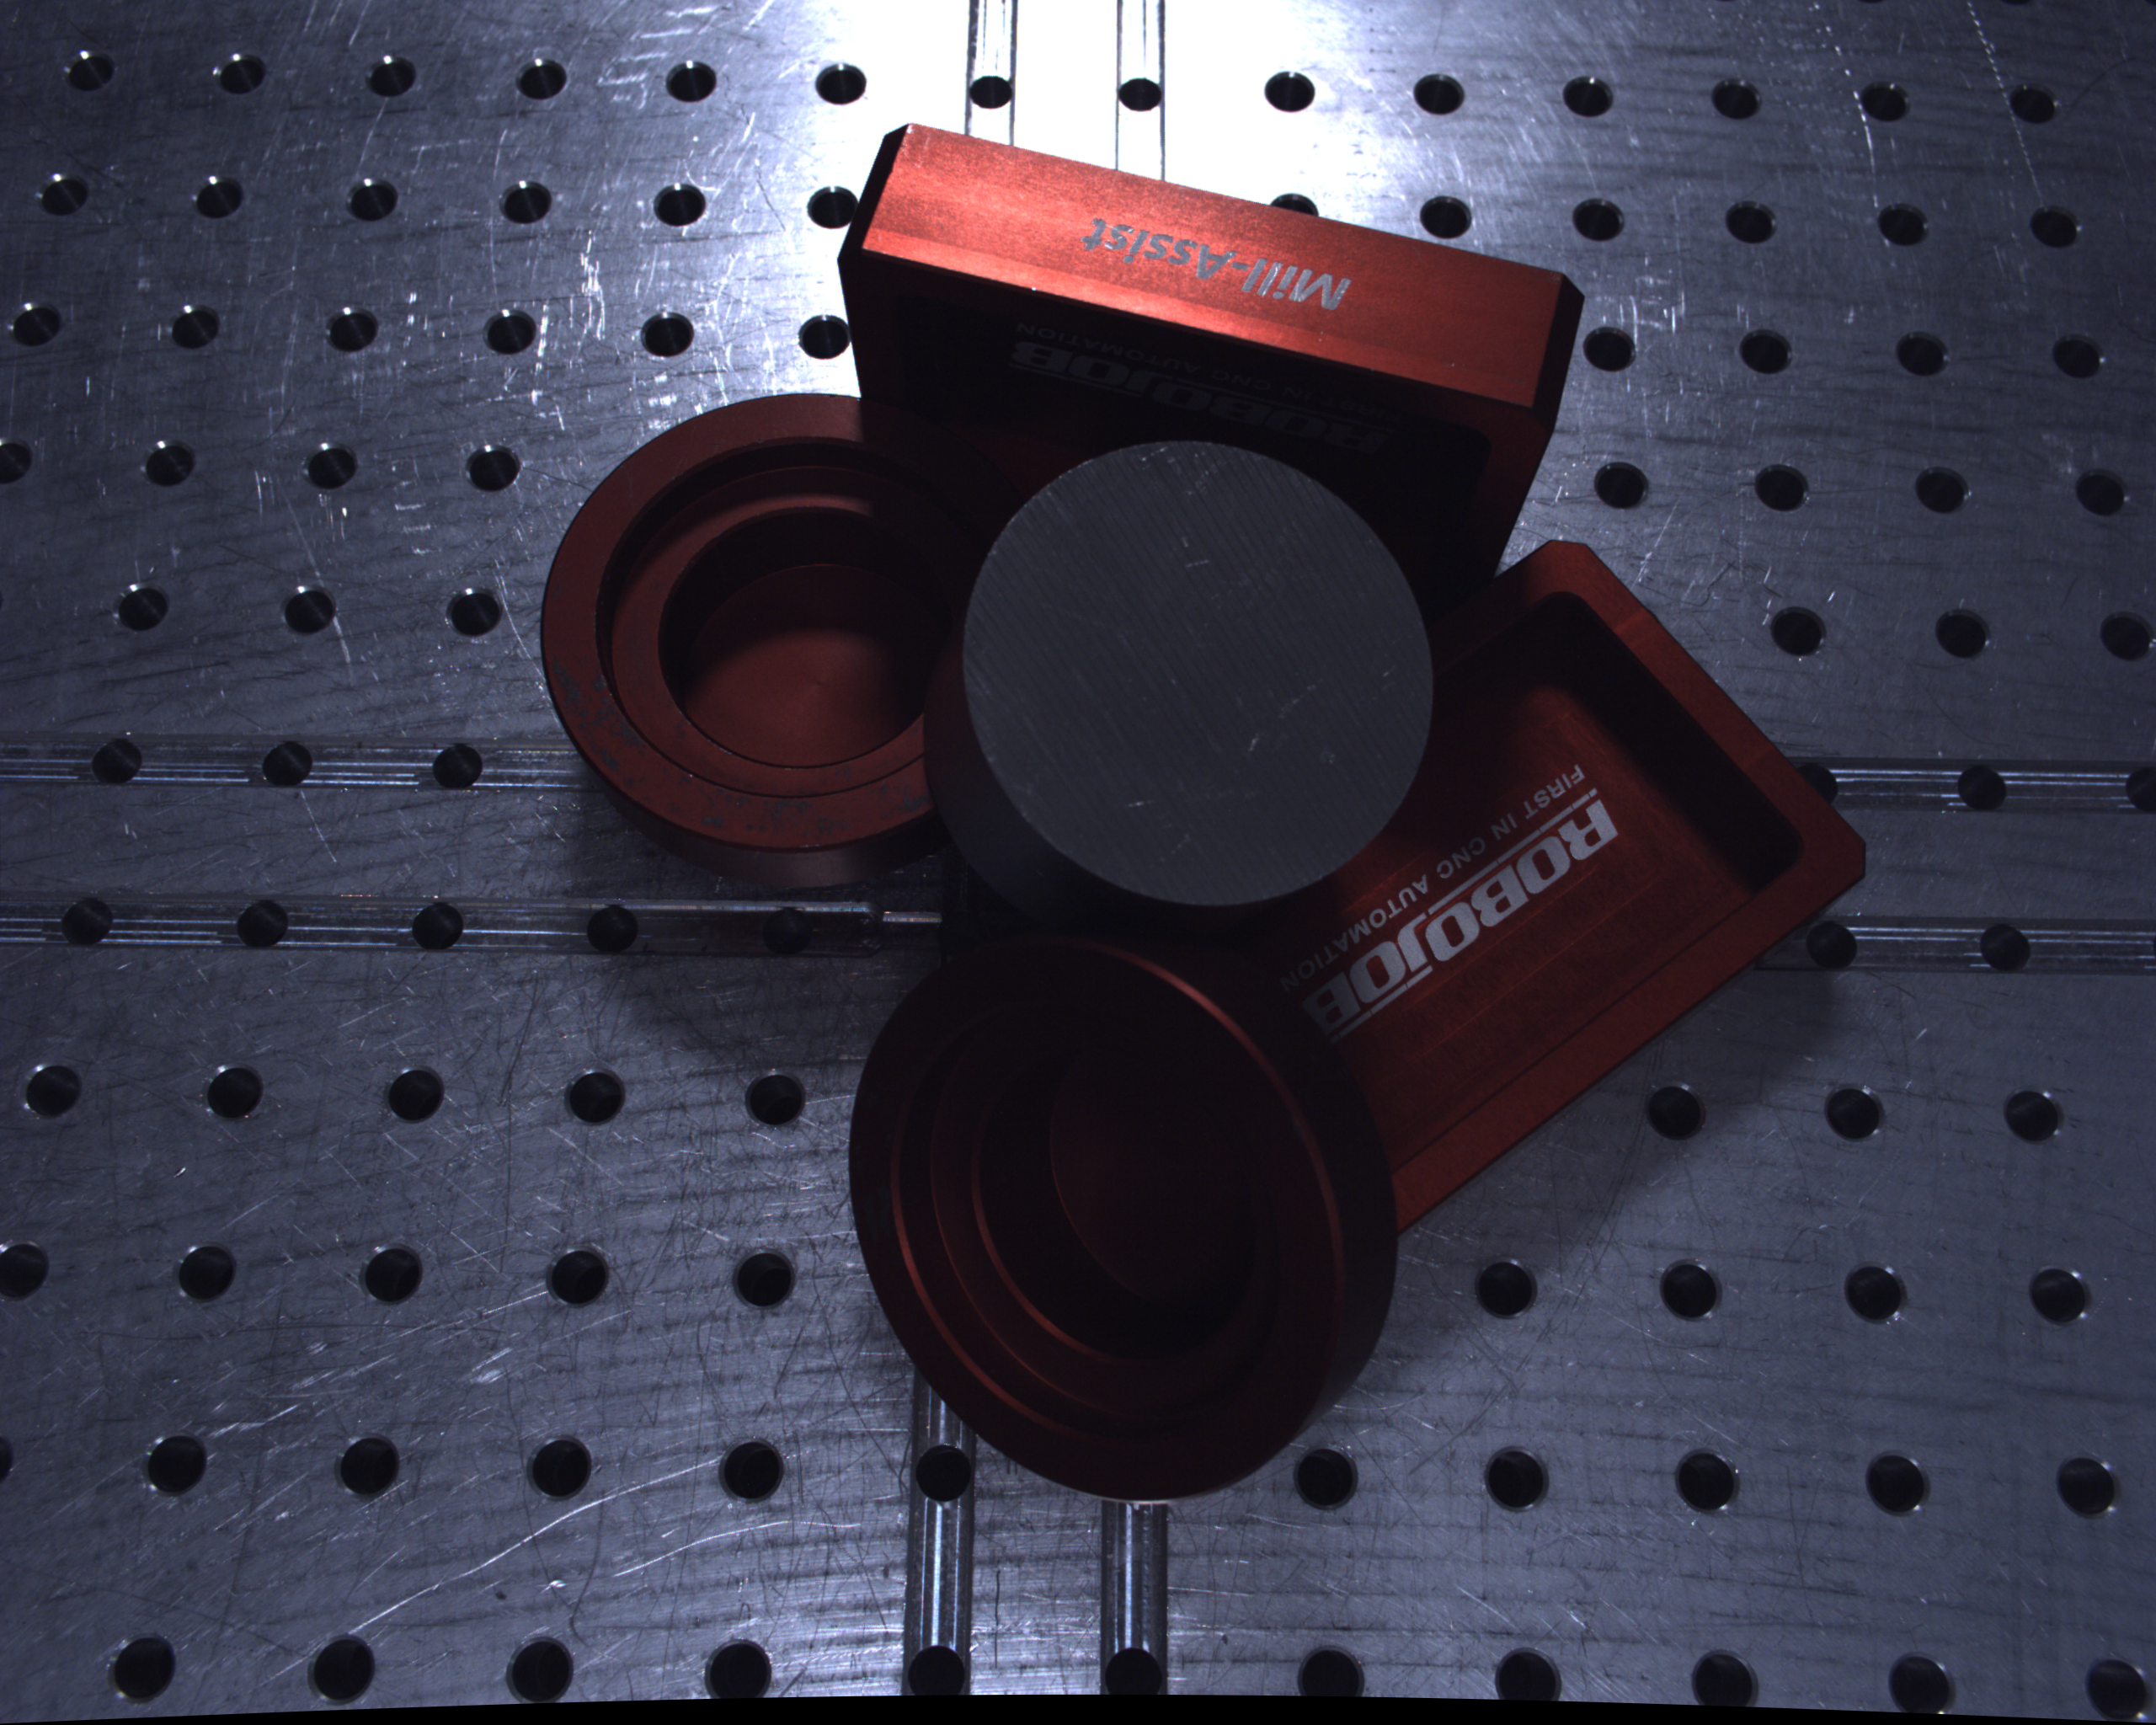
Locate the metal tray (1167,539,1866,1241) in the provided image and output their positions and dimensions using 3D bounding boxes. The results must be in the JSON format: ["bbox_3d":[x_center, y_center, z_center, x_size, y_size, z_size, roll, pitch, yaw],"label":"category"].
[{"bbox_3d":[0.073,0.007,0.407,0.131,0.030,0.090,-35,74,-12],"label":"metal tray"}]

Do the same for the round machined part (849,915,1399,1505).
[{"bbox_3d":[0.011,0.057,0.363,0.098,0.042,0.097,7,103,32],"label":"round machined part"}]

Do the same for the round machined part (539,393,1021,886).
[{"bbox_3d":[-0.053,-0.041,0.417,0.099,0.042,0.098,0,70,-1],"label":"round machined part"}]

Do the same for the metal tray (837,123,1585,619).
[{"bbox_3d":[0.024,-0.091,0.410,0.131,0.090,0.030,14,71,5],"label":"metal tray"}]

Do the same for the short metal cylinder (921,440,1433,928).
[{"bbox_3d":[0.016,-0.028,0.369,0.081,0.050,0.080,2,79,-12],"label":"short metal cylinder"}]
